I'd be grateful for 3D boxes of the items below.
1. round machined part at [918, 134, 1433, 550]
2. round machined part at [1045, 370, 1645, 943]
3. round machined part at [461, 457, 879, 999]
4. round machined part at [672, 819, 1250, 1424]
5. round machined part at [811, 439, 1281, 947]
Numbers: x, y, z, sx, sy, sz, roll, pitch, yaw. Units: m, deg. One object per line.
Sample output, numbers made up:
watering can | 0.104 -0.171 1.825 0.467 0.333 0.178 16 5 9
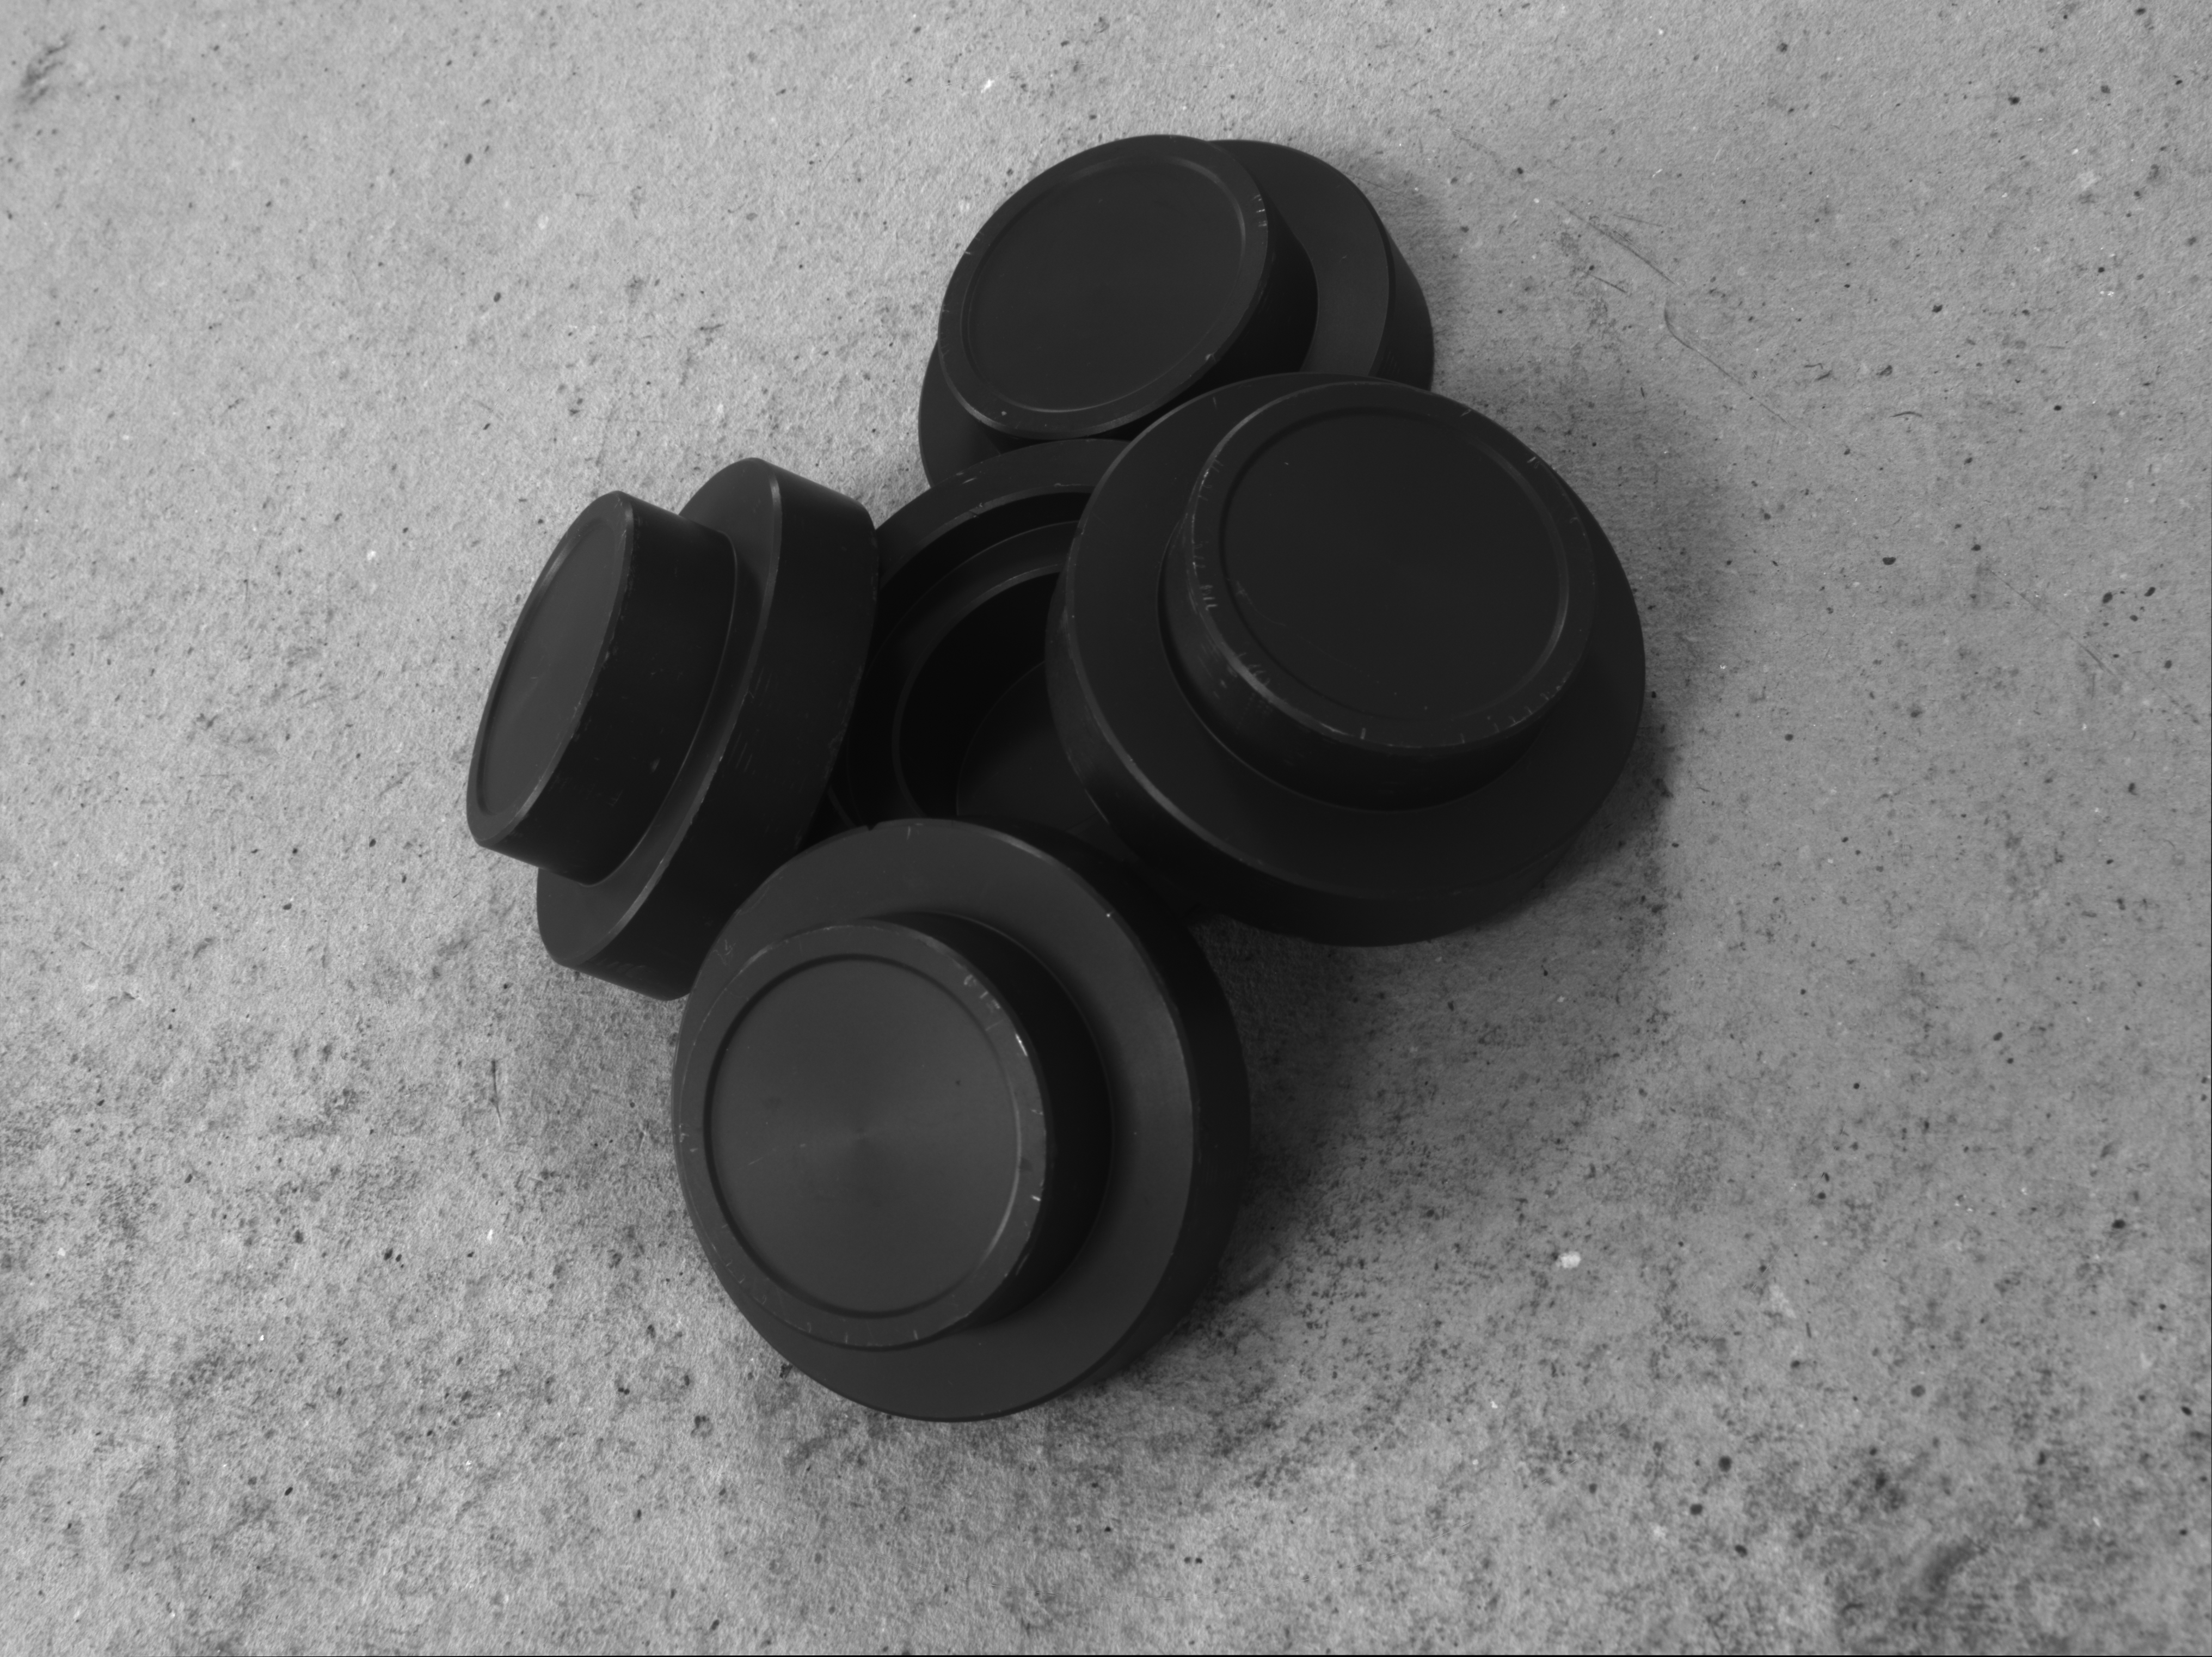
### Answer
round machined part | 0.008 -0.090 0.685 0.098 0.042 0.098 -14 54 20
round machined part | 0.042 -0.034 0.599 0.098 0.042 0.098 5 63 -10
round machined part | -0.083 -0.022 0.661 0.098 0.042 0.098 -45 33 41
round machined part | -0.030 0.048 0.593 0.098 0.042 0.098 1 92 26
round machined part | -0.007 -0.017 0.648 0.098 0.042 0.098 -15 54 22
